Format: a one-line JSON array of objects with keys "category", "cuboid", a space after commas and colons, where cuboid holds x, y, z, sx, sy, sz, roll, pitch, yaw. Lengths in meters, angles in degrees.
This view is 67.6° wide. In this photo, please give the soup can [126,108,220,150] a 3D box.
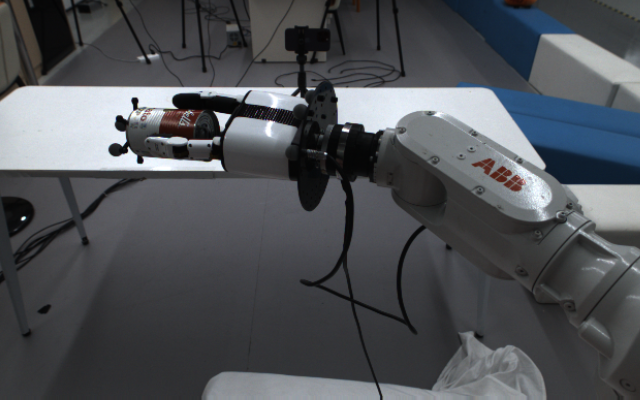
[{"category": "soup can", "cuboid": [-0.192, -0.086, 0.640, 0.101, 0.067, 0.067, 5, 34, 14]}]
